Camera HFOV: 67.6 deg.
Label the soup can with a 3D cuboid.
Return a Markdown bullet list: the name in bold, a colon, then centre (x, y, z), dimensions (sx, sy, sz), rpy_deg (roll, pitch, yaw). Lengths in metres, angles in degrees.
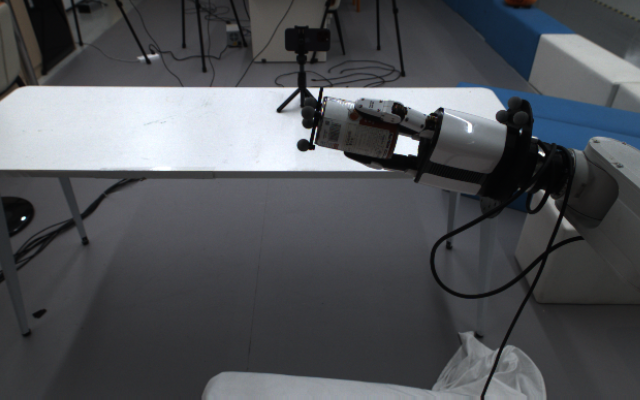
- **soup can**: centre (0.051, -0.095, 0.642), dimensions (0.101, 0.067, 0.067), rpy_deg (11, 35, -2)
